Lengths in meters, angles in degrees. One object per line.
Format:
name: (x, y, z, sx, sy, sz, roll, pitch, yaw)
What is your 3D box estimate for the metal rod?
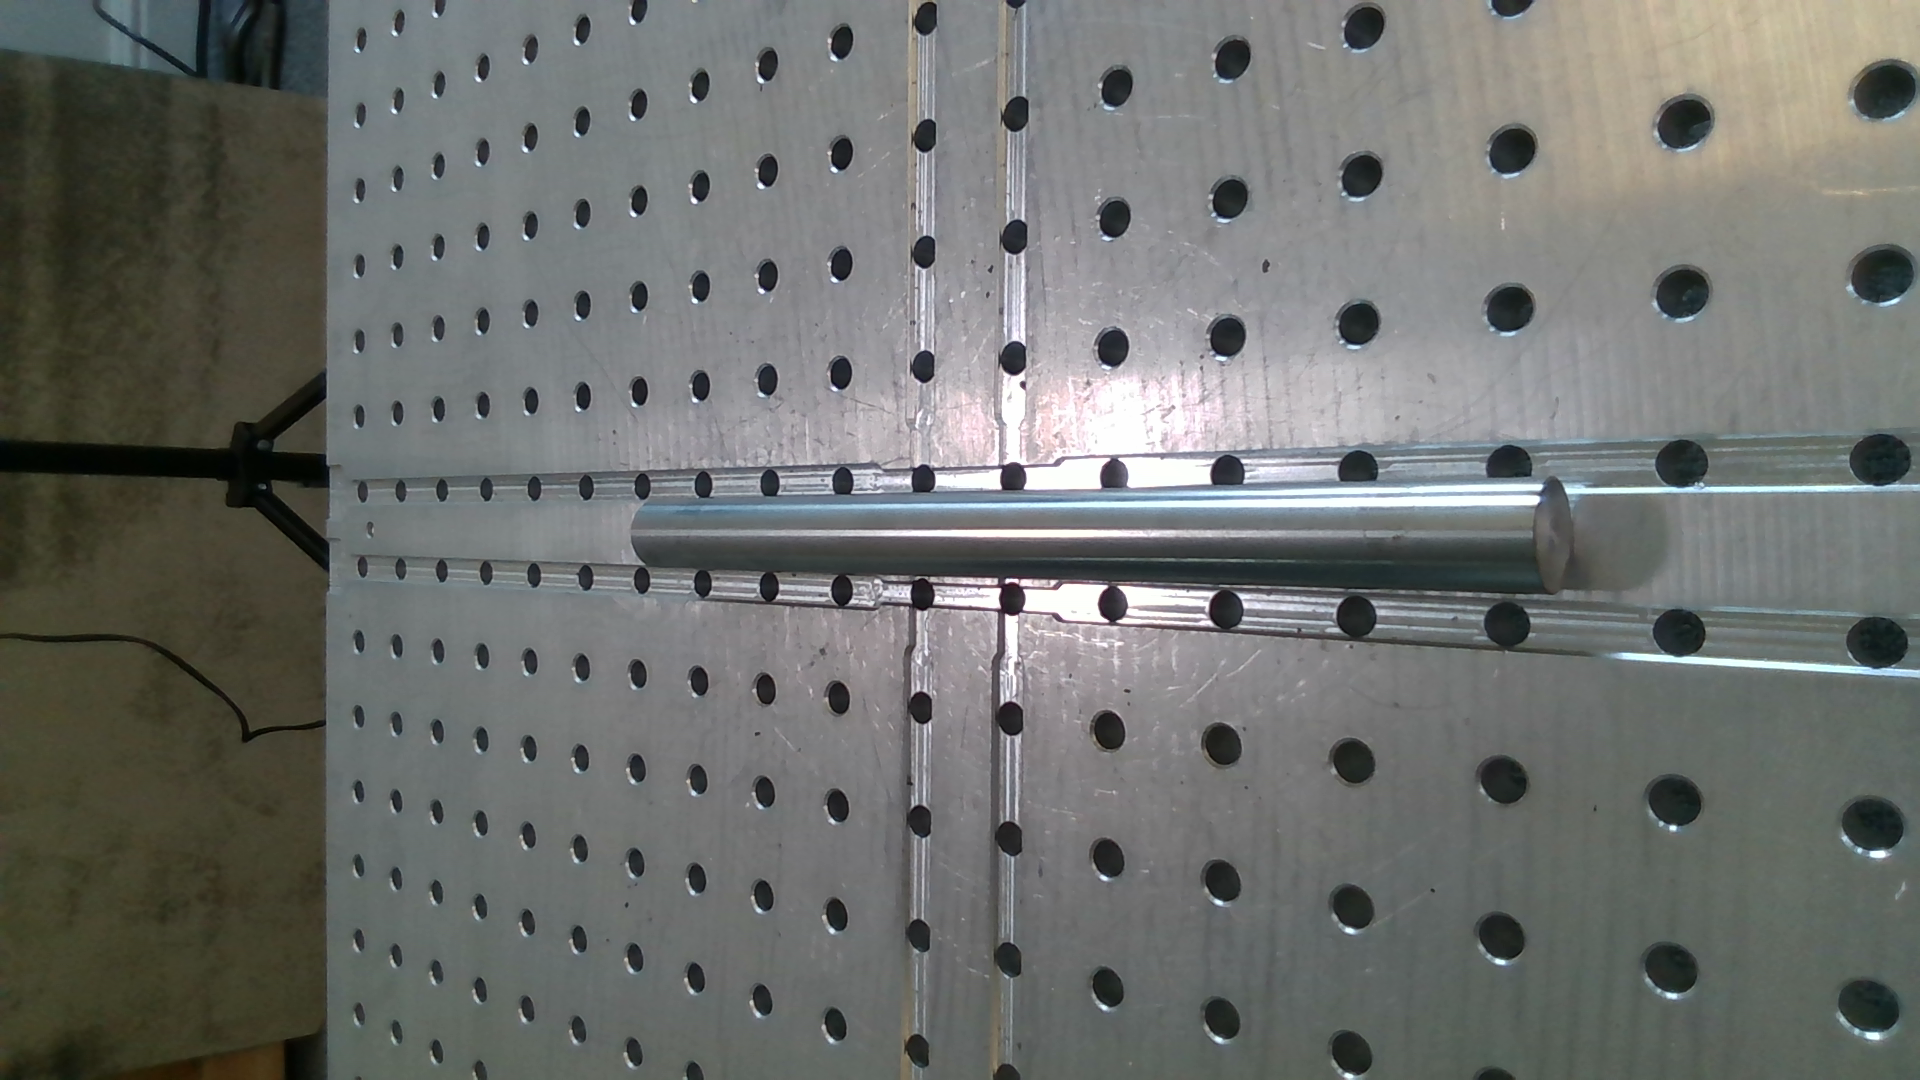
metal rod: (0.009, -0.003, 0.386, 0.300, 0.025, 0.025, 0, 91, 40)
